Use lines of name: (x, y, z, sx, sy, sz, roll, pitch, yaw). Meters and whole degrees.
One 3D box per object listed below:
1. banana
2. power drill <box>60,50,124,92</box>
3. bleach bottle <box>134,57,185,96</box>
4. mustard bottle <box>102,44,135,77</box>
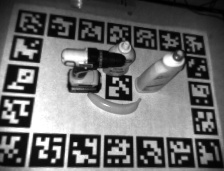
banana: (0.017, 0.073, 0.755, 0.198, 0.039, 0.074, 6, 75, -9)
power drill: (-0.070, -0.041, 0.672, 0.186, 0.186, 0.057, 1, 65, -15)
bleach bottle: (0.158, -0.030, 0.719, 0.103, 0.250, 0.067, -5, 74, -13)
mustard bottle: (0.027, -0.087, 0.729, 0.097, 0.191, 0.058, 4, 71, -12)
